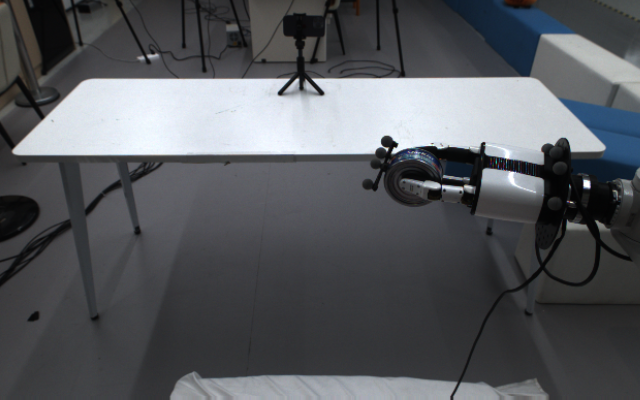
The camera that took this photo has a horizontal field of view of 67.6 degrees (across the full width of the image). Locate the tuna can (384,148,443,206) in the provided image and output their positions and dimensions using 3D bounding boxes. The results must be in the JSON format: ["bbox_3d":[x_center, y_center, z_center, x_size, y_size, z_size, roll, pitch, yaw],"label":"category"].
[{"bbox_3d":[0.141,-0.035,0.723,0.085,0.085,0.034,9,35,9],"label":"tuna can"}]
